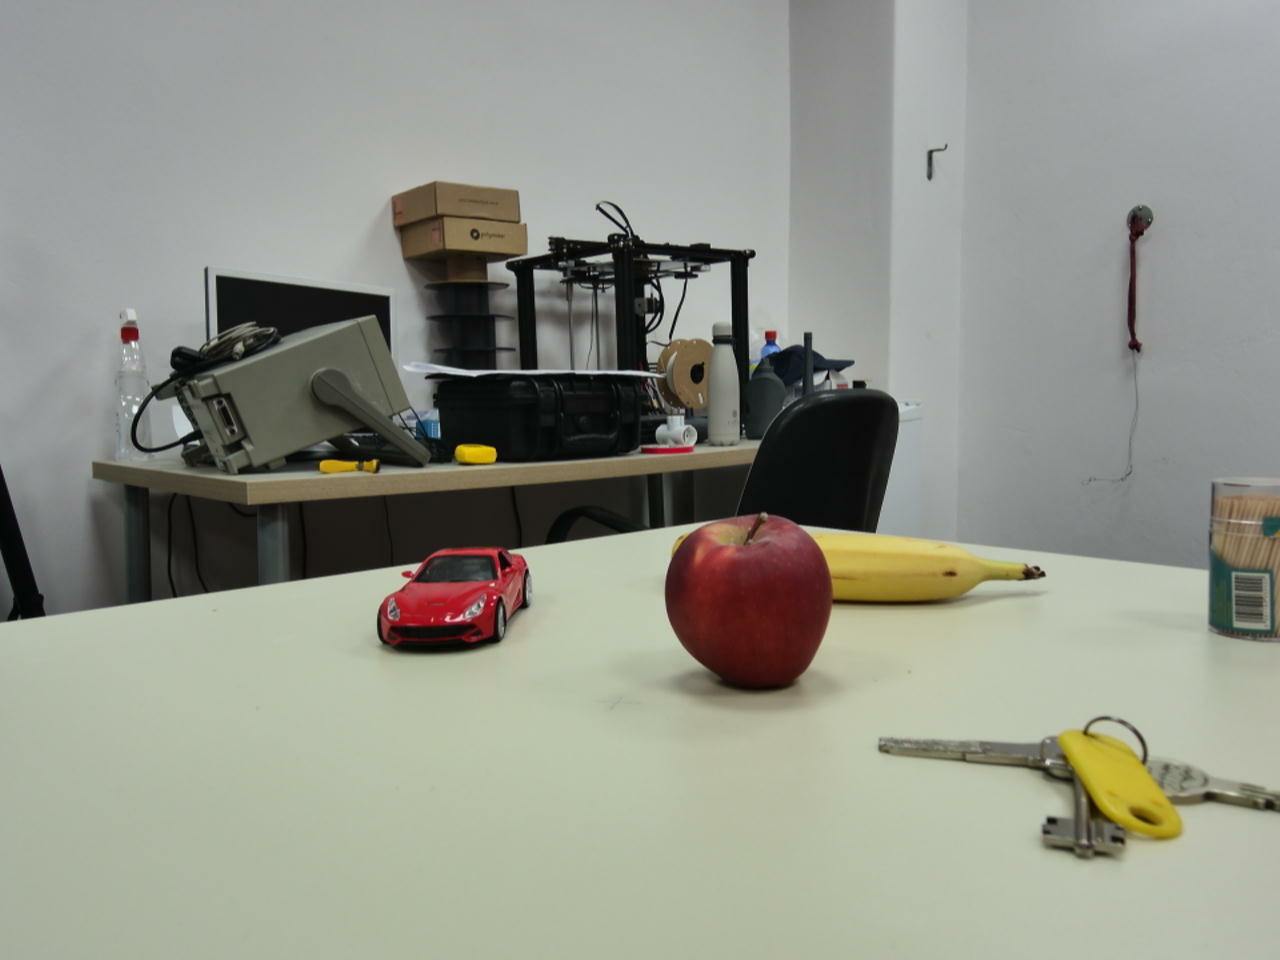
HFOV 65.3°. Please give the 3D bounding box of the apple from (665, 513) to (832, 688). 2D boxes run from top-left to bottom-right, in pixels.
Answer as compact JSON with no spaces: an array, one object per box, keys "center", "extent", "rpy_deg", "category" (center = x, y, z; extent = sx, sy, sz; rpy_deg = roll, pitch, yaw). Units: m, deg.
[{"center":[0.046,0.048,0.419],"extent":[0.070,0.072,0.070],"rpy_deg":[0,3,0],"category":"apple"}]
